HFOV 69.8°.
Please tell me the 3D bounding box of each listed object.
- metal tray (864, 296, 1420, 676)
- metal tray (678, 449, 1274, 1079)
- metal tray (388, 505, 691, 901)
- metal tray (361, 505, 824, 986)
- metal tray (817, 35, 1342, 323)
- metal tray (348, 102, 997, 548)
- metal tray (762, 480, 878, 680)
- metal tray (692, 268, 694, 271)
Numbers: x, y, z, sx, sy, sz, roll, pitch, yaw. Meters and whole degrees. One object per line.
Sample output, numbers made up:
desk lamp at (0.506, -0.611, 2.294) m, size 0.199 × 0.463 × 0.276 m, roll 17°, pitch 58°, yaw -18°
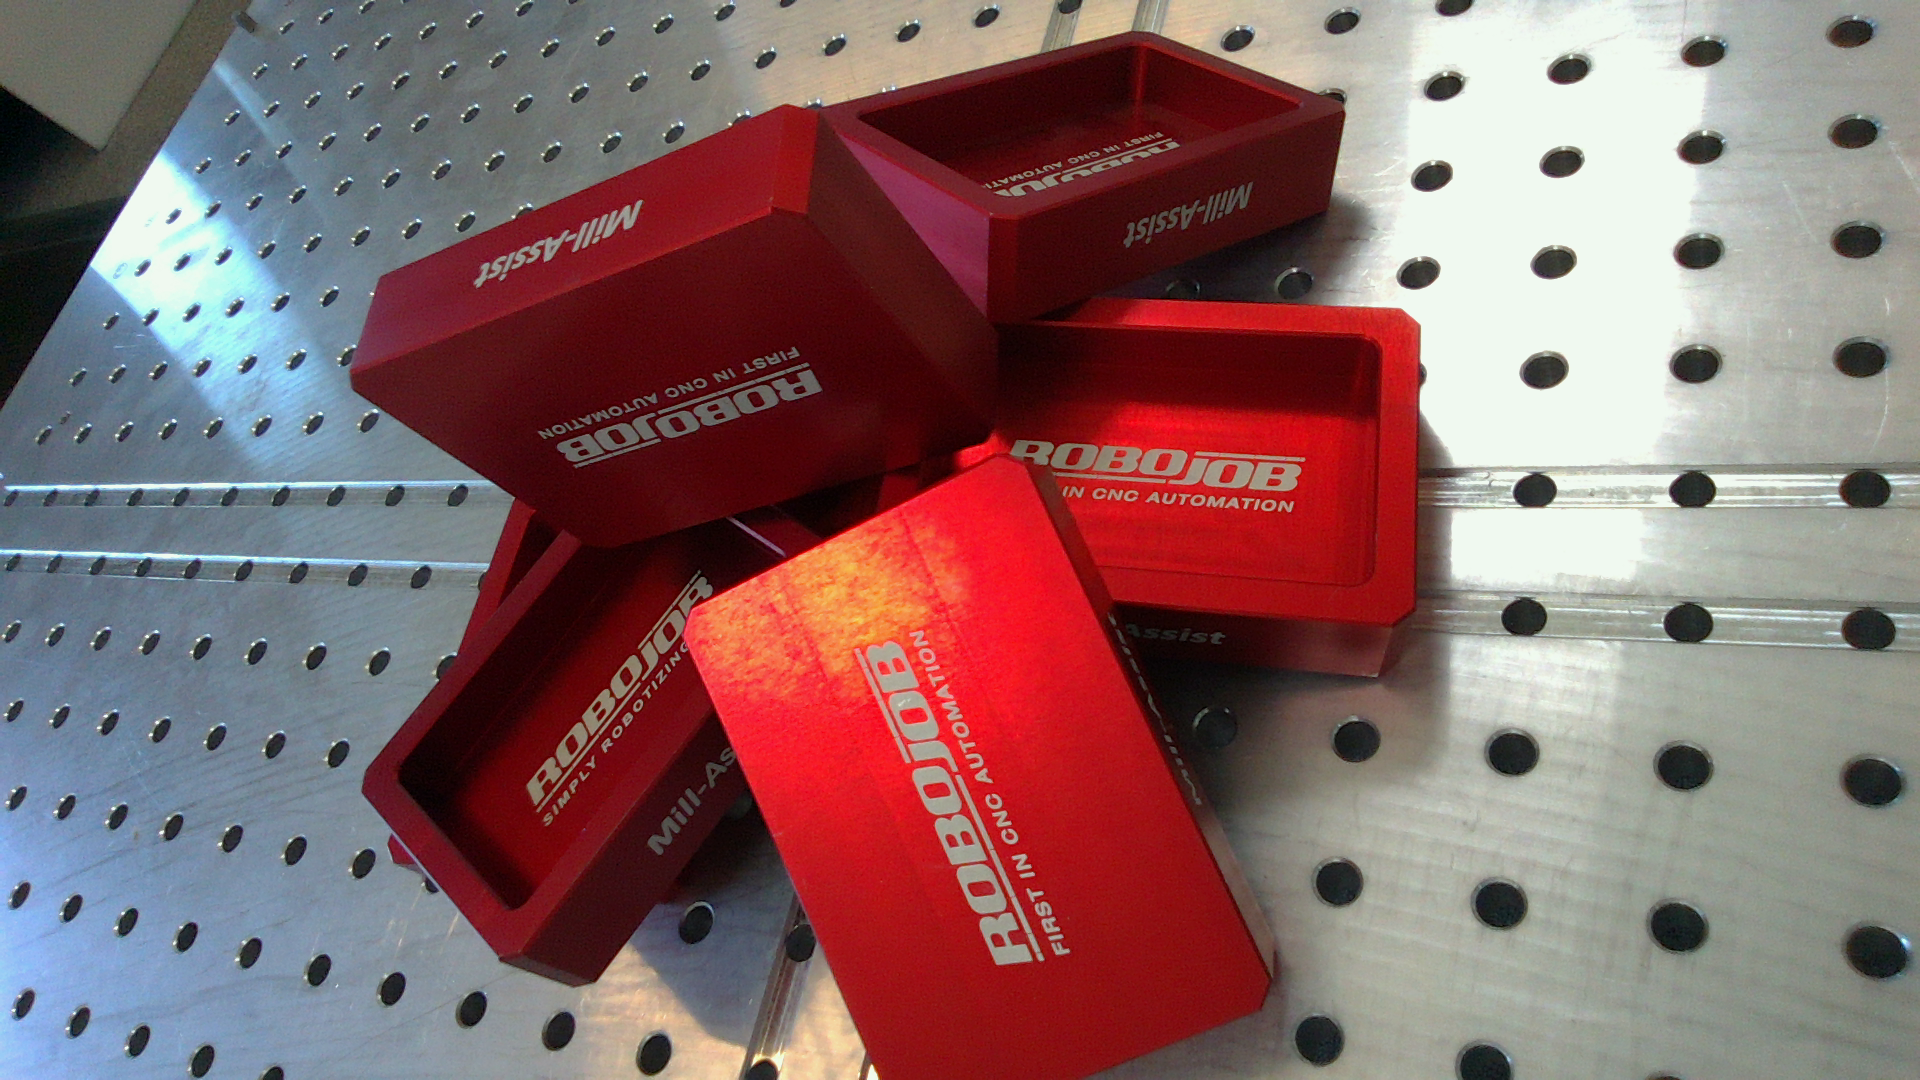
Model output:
metal tray at (0.048, -0.017, 0.354) m, size 0.130 × 0.030 × 0.090 m, roll 4°, pitch 62°, yaw 11°
metal tray at (0.004, 0.056, 0.314) m, size 0.090 × 0.030 × 0.130 m, roll -26°, pitch 85°, yaw 13°
metal tray at (-0.115, 0.042, 0.430) m, size 0.090 × 0.030 × 0.130 m, roll -4°, pitch 59°, yaw 26°
metal tray at (-0.095, 0.042, 0.379) m, size 0.090 × 0.030 × 0.130 m, roll 30°, pitch 78°, yaw 38°
metal tray at (0.034, -0.110, 0.400) m, size 0.130 × 0.030 × 0.090 m, roll -24°, pitch 43°, yaw -29°
metal tray at (-0.067, -0.044, 0.335) m, size 0.130 × 0.090 × 0.030 m, roll -14°, pitch 55°, yaw 26°
metal tray at (-0.019, -0.005, 0.406) m, size 0.090 × 0.030 × 0.130 m, roll -3°, pitch 58°, yaw 25°
metal tray at (-0.061, -0.081, 0.455) m, size 0.090 × 0.030 × 0.130 m, roll -39°, pitch 35°, yaw 2°
